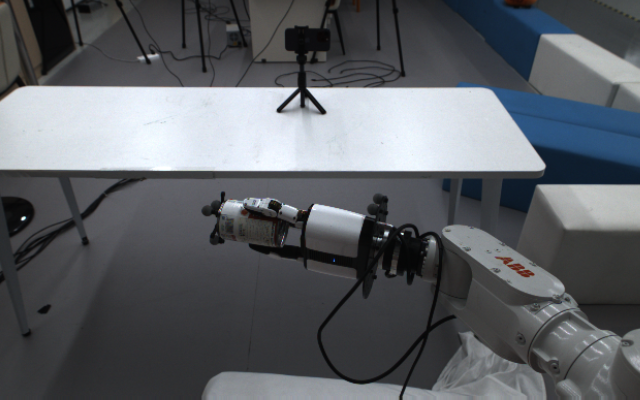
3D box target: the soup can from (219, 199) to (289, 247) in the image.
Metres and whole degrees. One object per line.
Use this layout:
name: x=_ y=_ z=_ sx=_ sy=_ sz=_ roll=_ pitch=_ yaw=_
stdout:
soup can: x=-0.105 y=0.039 z=0.779 sx=0.101 sy=0.067 sz=0.067 roll=8 pitch=35 yaw=10
